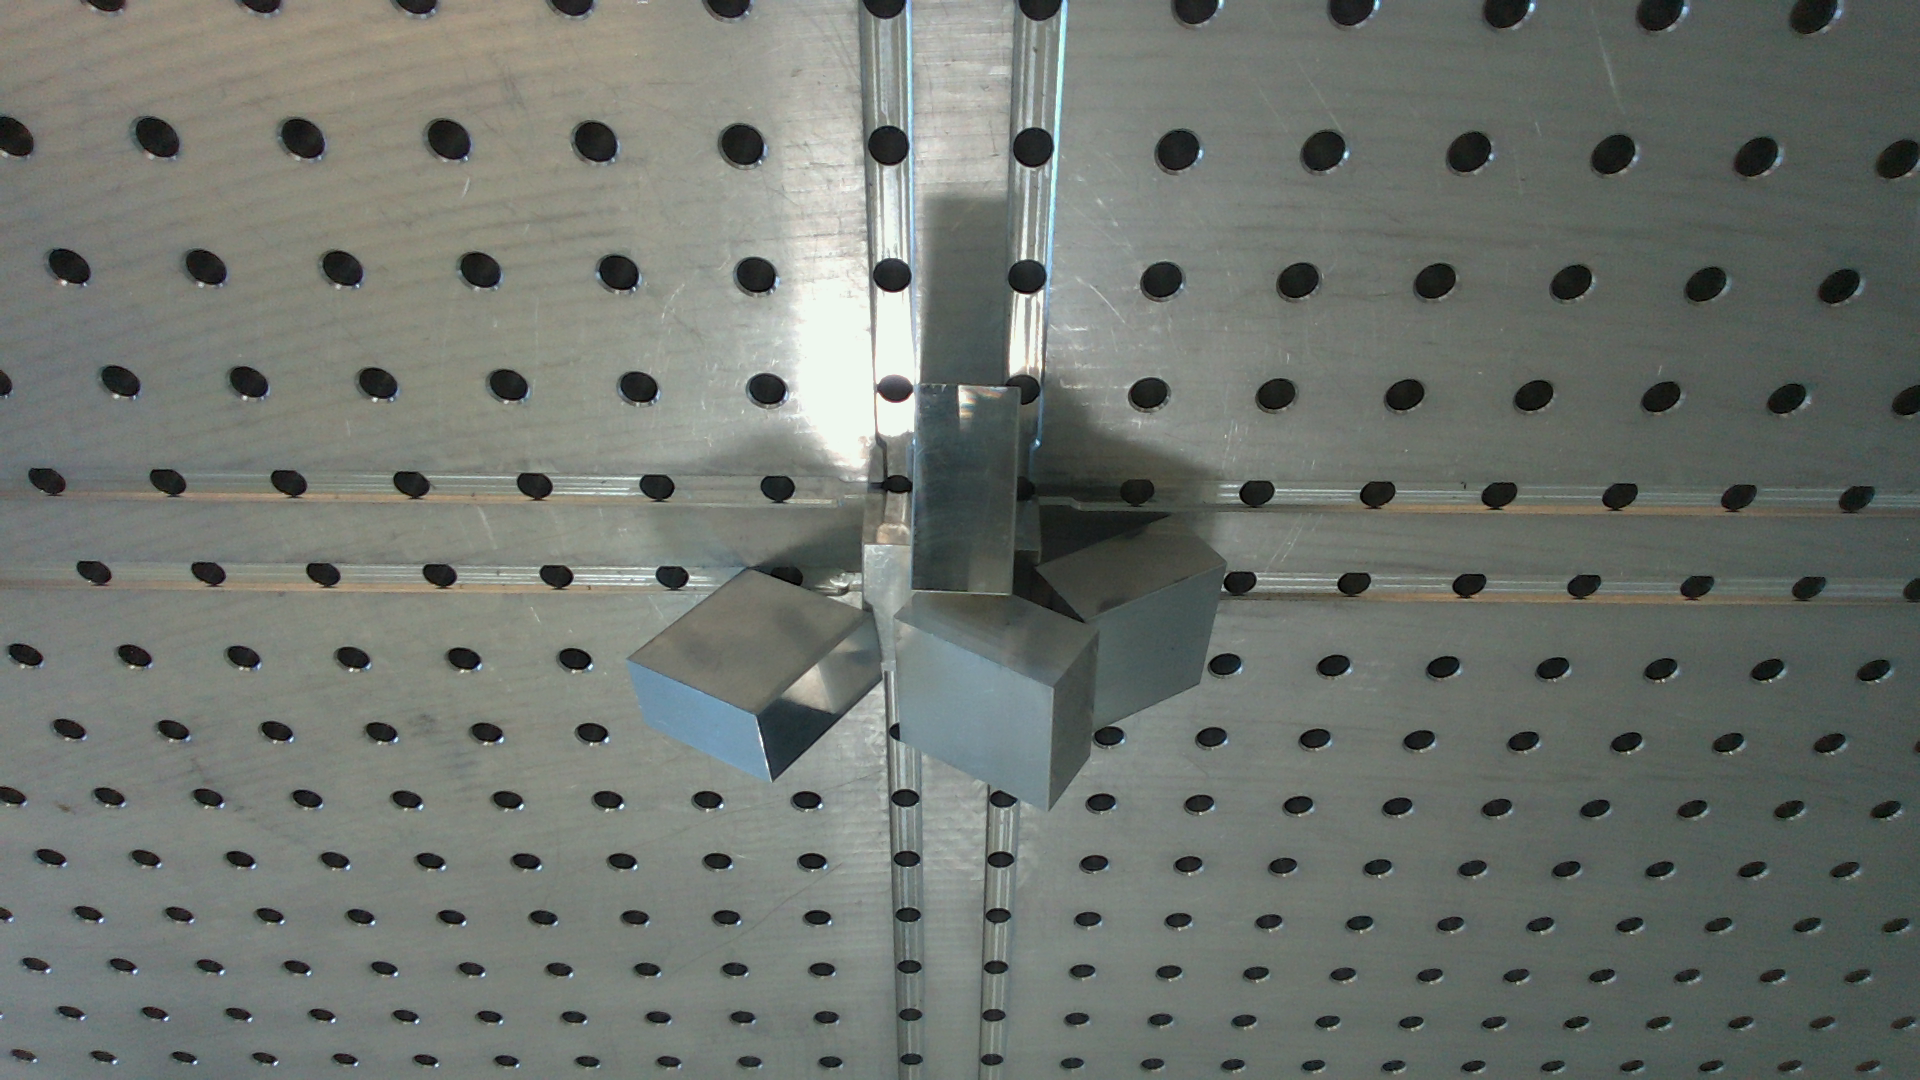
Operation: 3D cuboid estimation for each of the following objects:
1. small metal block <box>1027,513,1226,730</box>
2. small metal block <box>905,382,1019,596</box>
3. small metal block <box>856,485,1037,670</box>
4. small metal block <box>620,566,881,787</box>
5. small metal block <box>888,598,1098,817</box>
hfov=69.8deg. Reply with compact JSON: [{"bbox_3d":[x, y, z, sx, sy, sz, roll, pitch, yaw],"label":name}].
[{"bbox_3d":[0.046,0.026,0.401,0.050,0.025,0.050,-19,135,-25],"label":"small metal block"},{"bbox_3d":[0.000,-0.014,0.352,0.025,0.050,0.050,2,94,-1],"label":"small metal block"},{"bbox_3d":[-0.005,0.012,0.404,0.050,0.025,0.050,2,130,-1],"label":"small metal block"},{"bbox_3d":[-0.059,0.038,0.395,0.050,0.050,0.025,18,131,31],"label":"small metal block"},{"bbox_3d":[0.009,0.042,0.381,0.050,0.025,0.050,22,135,25],"label":"small metal block"}]
